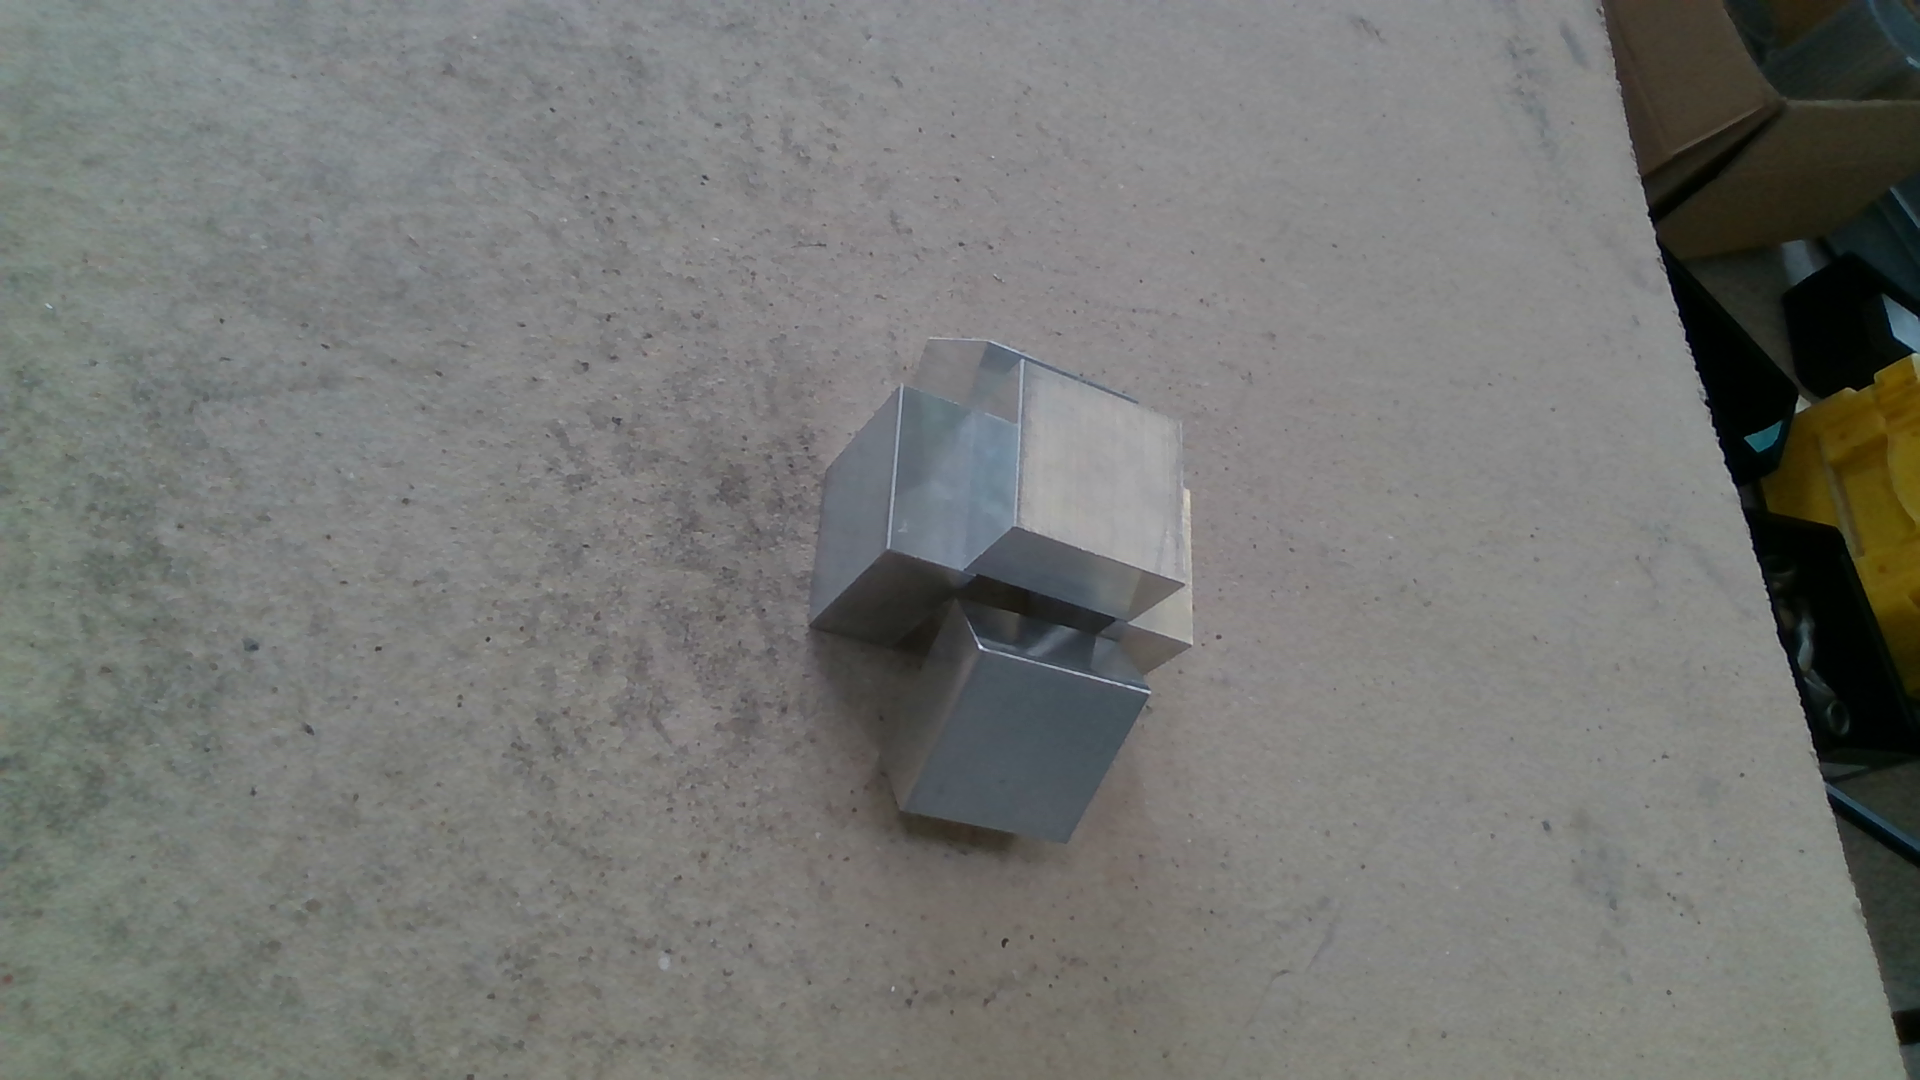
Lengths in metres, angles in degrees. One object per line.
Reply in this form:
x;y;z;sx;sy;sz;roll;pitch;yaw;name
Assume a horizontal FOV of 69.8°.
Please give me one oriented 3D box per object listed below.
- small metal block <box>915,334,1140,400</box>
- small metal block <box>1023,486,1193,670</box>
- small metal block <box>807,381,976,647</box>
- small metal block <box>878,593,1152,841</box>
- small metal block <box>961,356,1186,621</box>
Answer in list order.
0.016;-0.040;0.406;0.050;0.050;0.025;18;92;-22;small metal block
0.041;0.013;0.396;0.025;0.050;0.050;18;57;-22;small metal block
-0.018;-0.006;0.370;0.025;0.050;0.050;17;58;-23;small metal block
0.013;0.047;0.357;0.050;0.050;0.025;16;23;-24;small metal block
0.030;-0.013;0.354;0.050;0.025;0.050;18;57;-23;small metal block
